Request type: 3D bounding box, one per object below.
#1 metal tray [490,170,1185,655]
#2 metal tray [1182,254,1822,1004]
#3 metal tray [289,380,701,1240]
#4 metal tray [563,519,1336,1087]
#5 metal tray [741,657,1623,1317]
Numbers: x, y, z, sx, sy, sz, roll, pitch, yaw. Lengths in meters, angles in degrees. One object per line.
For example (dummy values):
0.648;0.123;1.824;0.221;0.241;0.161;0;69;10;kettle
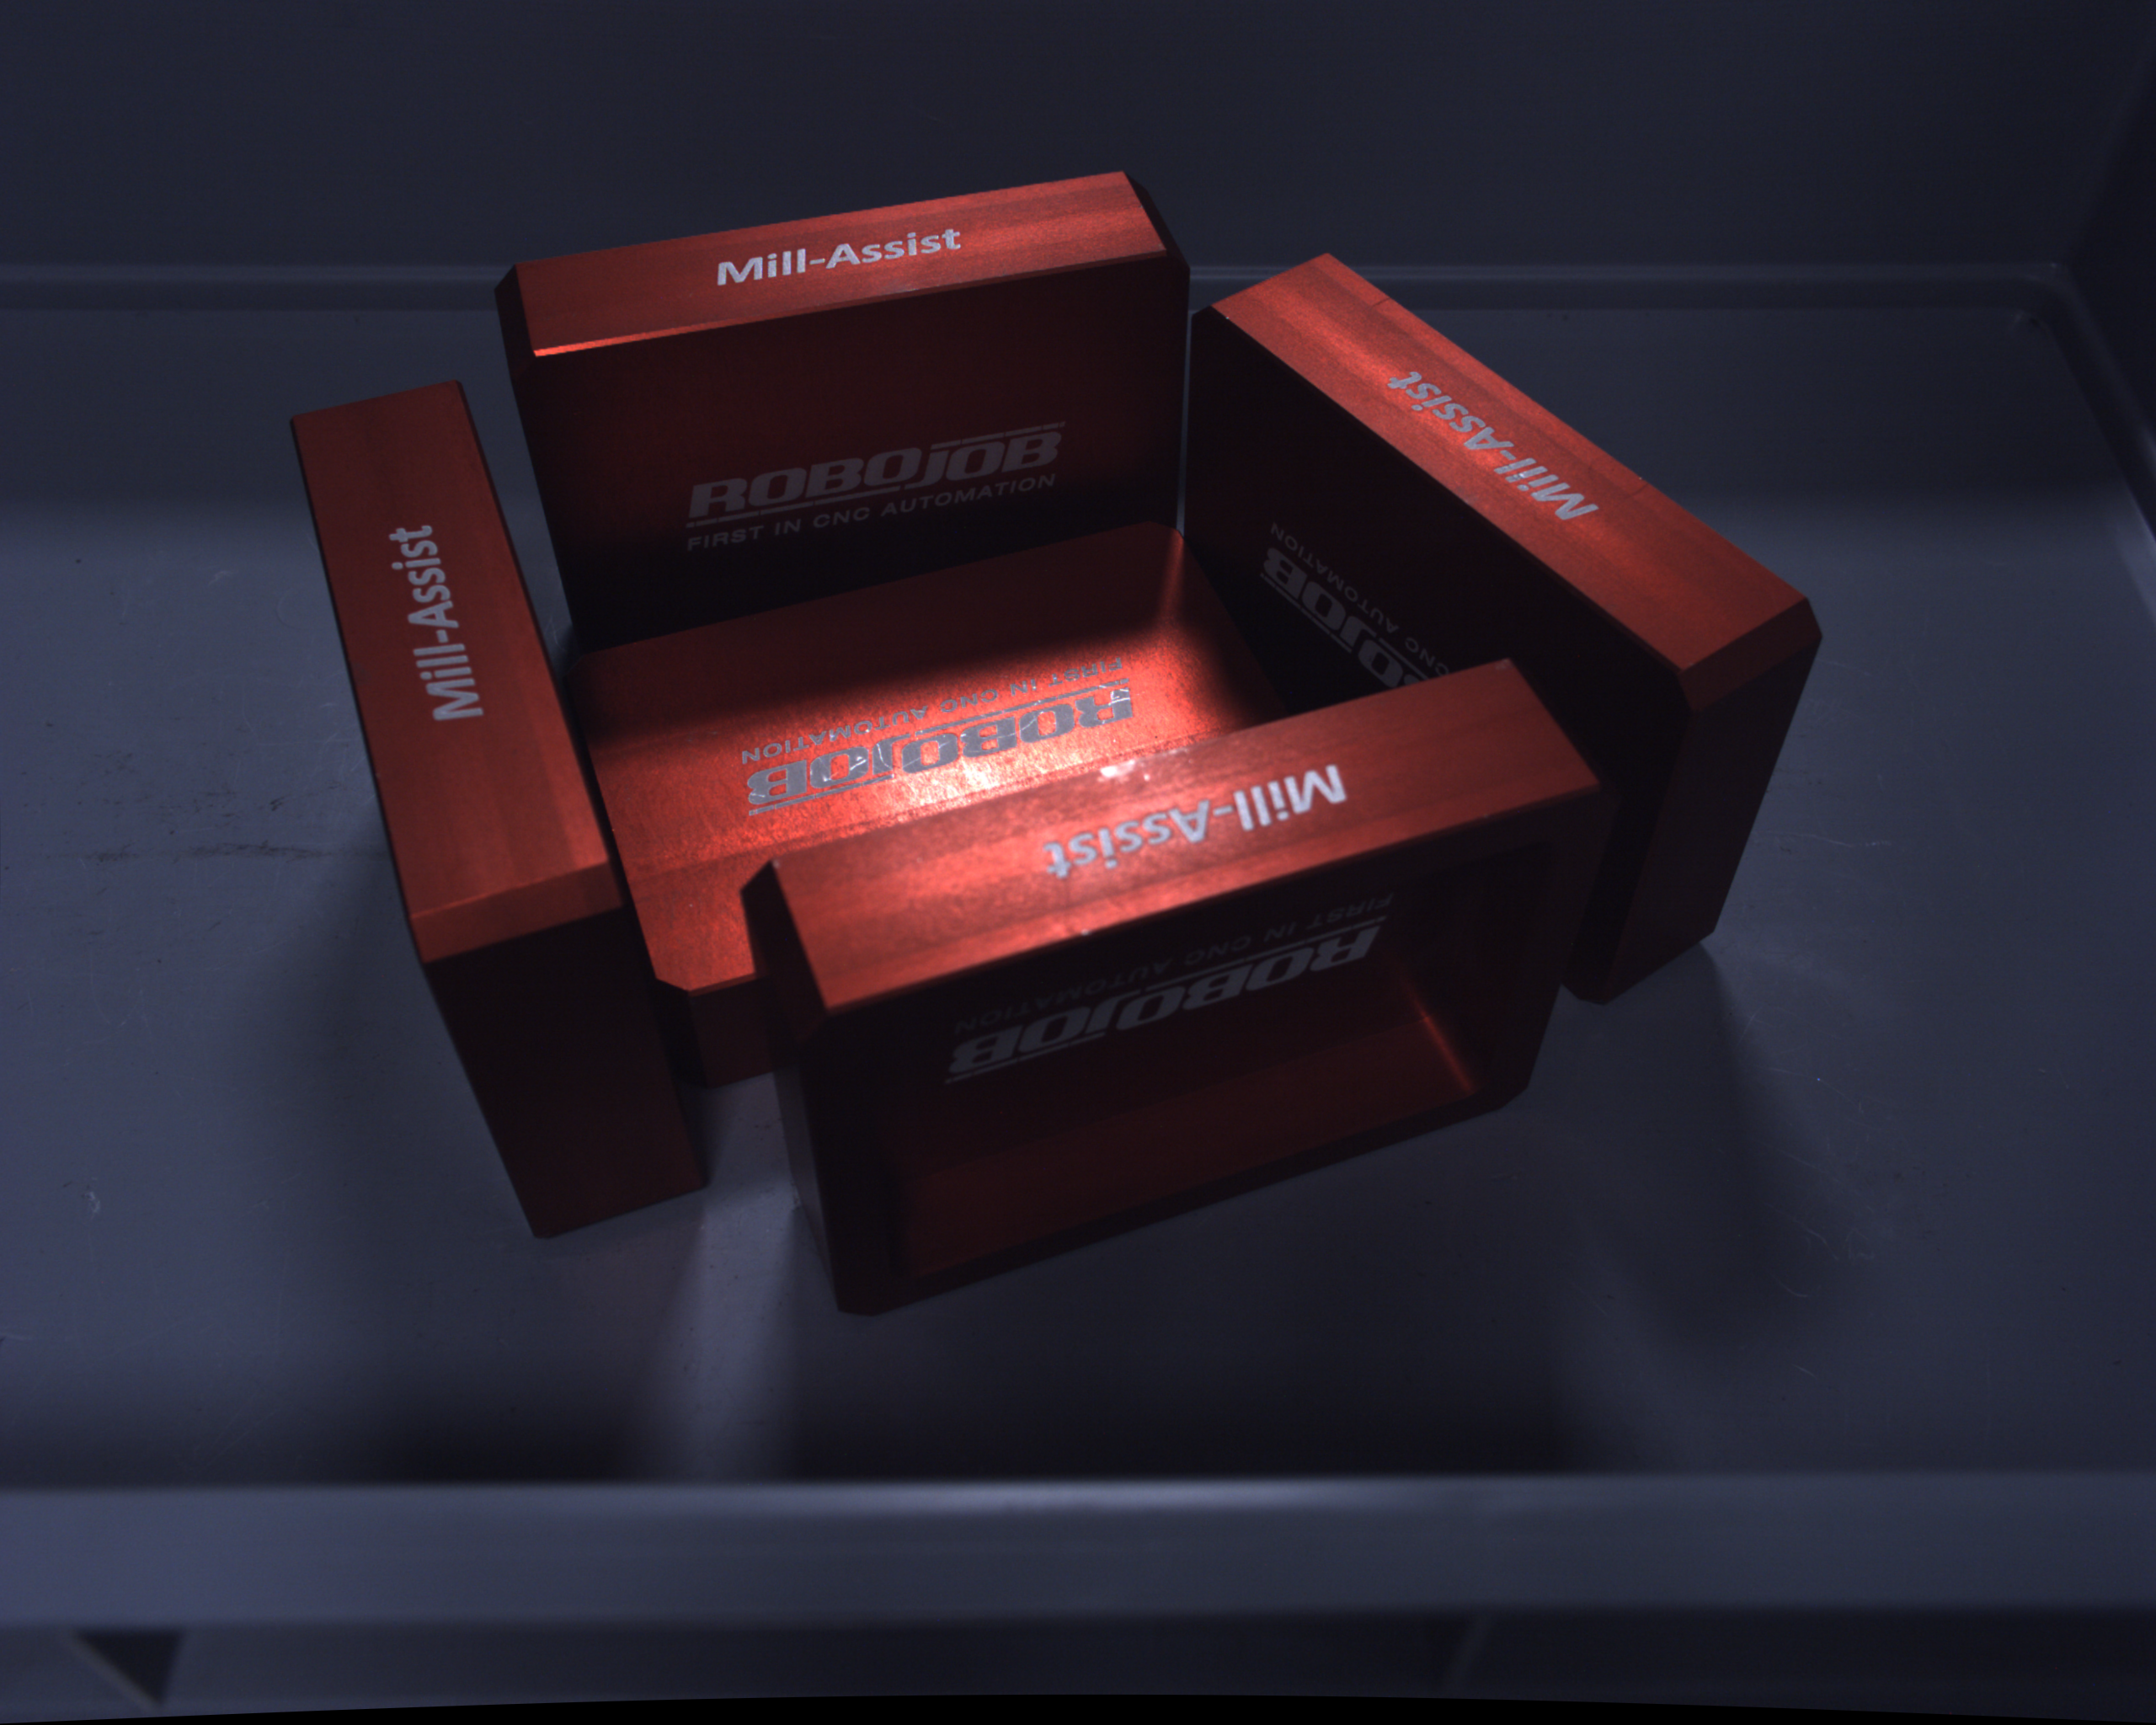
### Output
-0.046;-0.088;0.433;0.131;0.089;0.030;-12;51;-11;metal tray
0.072;-0.045;0.400;0.030;0.089;0.130;-30;56;-22;metal tray
-0.103;-0.011;0.368;0.030;0.089;0.130;-17;52;-14;metal tray
-0.027;-0.016;0.411;0.131;0.030;0.090;-15;52;-13;metal tray
0.017;0.022;0.342;0.131;0.089;0.030;-16;52;-14;metal tray
